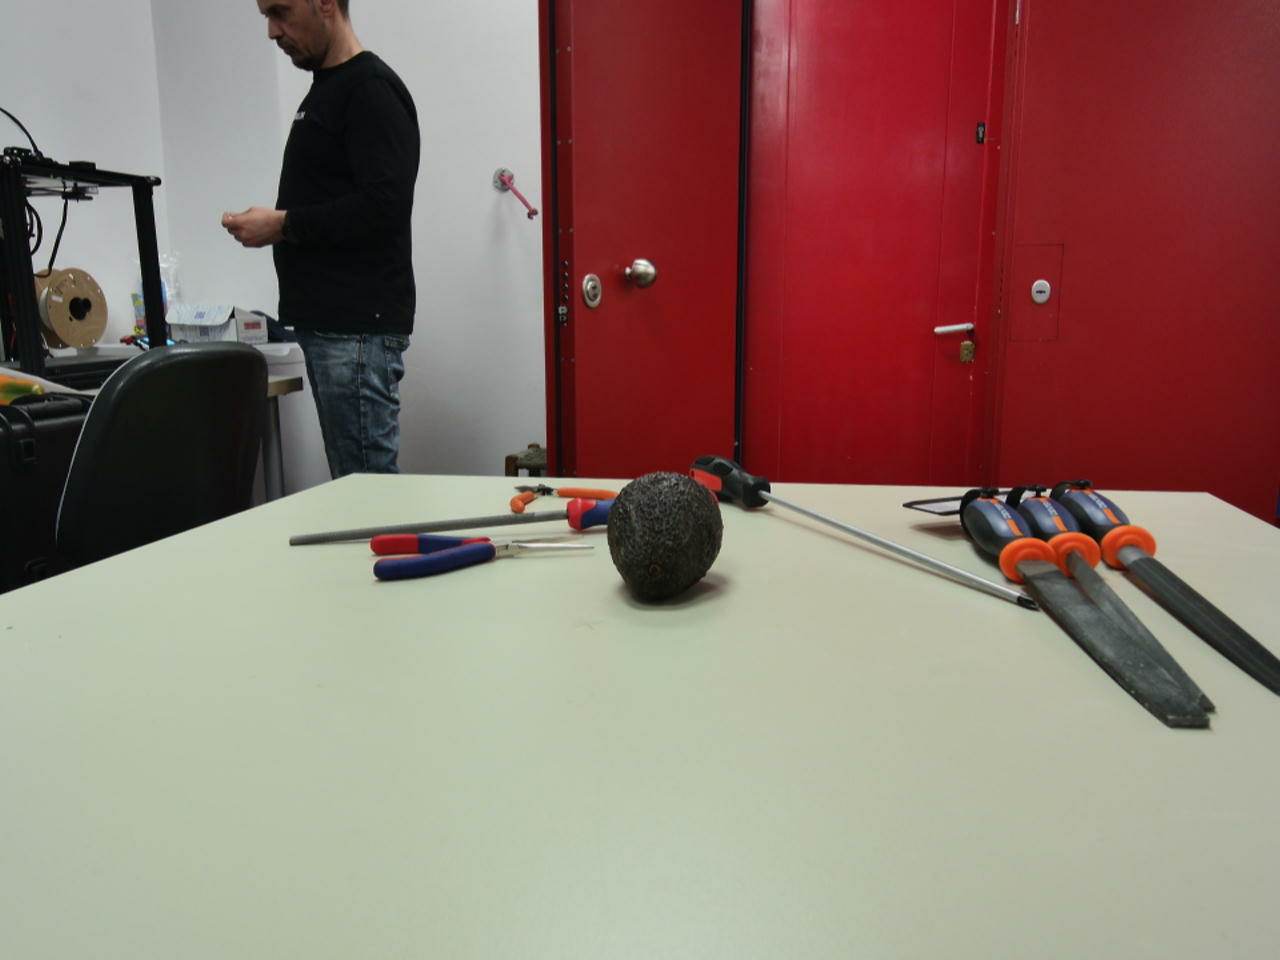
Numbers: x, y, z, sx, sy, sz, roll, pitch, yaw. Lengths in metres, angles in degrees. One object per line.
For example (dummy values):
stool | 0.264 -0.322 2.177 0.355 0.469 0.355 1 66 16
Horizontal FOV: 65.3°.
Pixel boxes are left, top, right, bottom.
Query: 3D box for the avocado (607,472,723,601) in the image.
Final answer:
avocado | 0.012 0.030 0.593 0.070 0.069 0.090 7 9 36
